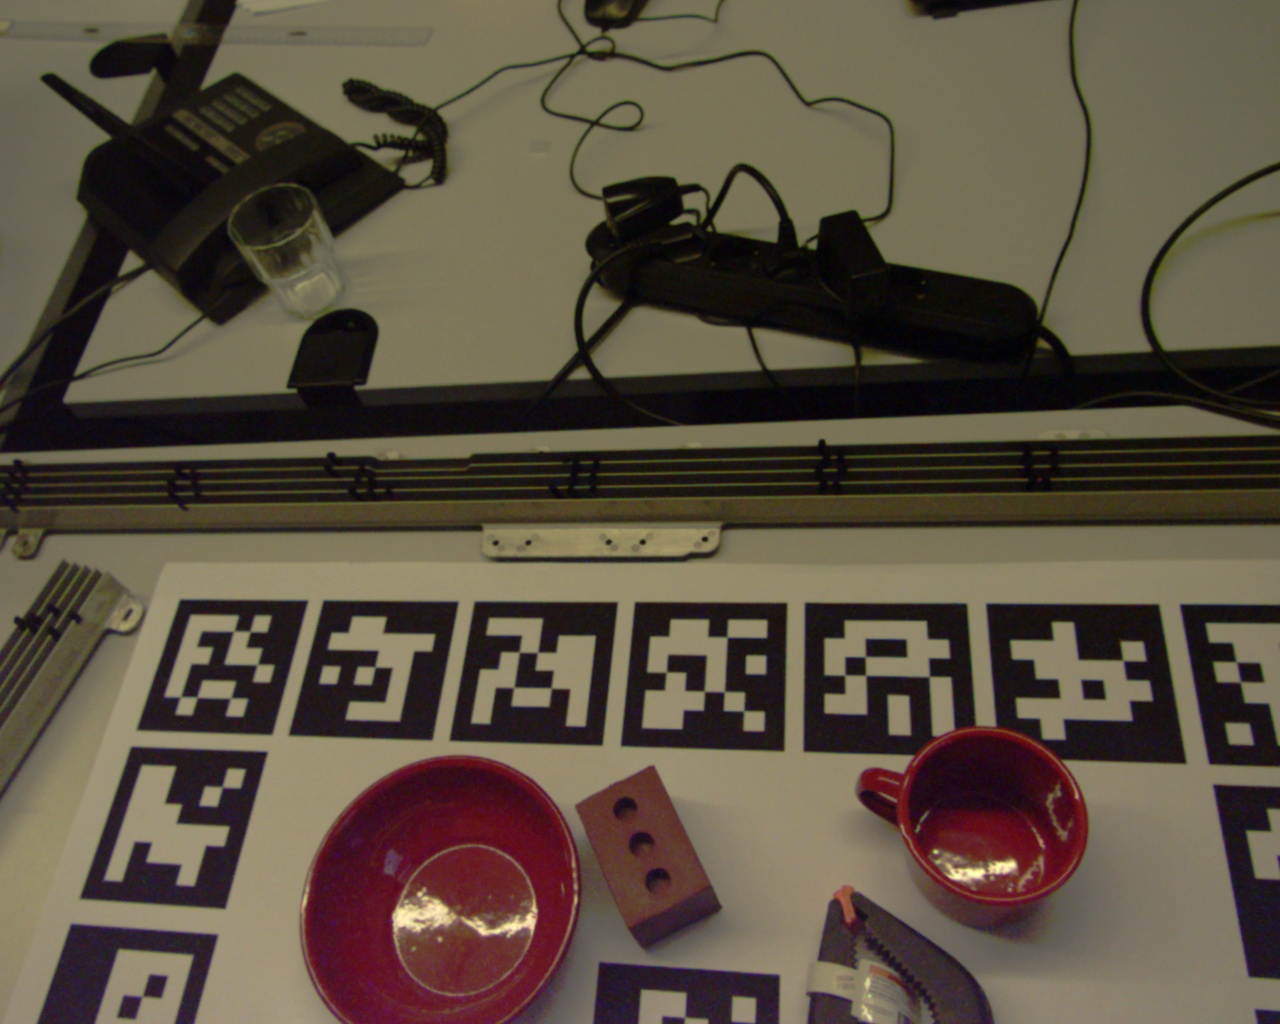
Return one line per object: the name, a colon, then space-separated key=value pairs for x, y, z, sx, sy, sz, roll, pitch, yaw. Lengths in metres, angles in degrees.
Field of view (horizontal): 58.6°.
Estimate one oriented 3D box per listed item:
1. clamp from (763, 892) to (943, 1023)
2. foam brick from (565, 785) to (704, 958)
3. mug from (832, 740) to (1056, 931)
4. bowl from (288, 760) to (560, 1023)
clamp: x=0.122 y=0.298 z=0.590 sx=0.165 sy=0.036 sz=0.204 roll=-22 pitch=58 yaw=1
foam brick: x=-0.004 y=0.213 z=0.673 sx=0.053 sy=0.051 sz=0.079 roll=-24 pitch=58 yaw=-3
mug: x=0.162 y=0.178 z=0.633 sx=0.118 sy=0.081 sz=0.093 roll=25 pitch=66 yaw=20
bowl: x=-0.122 y=0.233 z=0.676 sx=0.162 sy=0.055 sz=0.162 roll=-5 pitch=58 yaw=7
